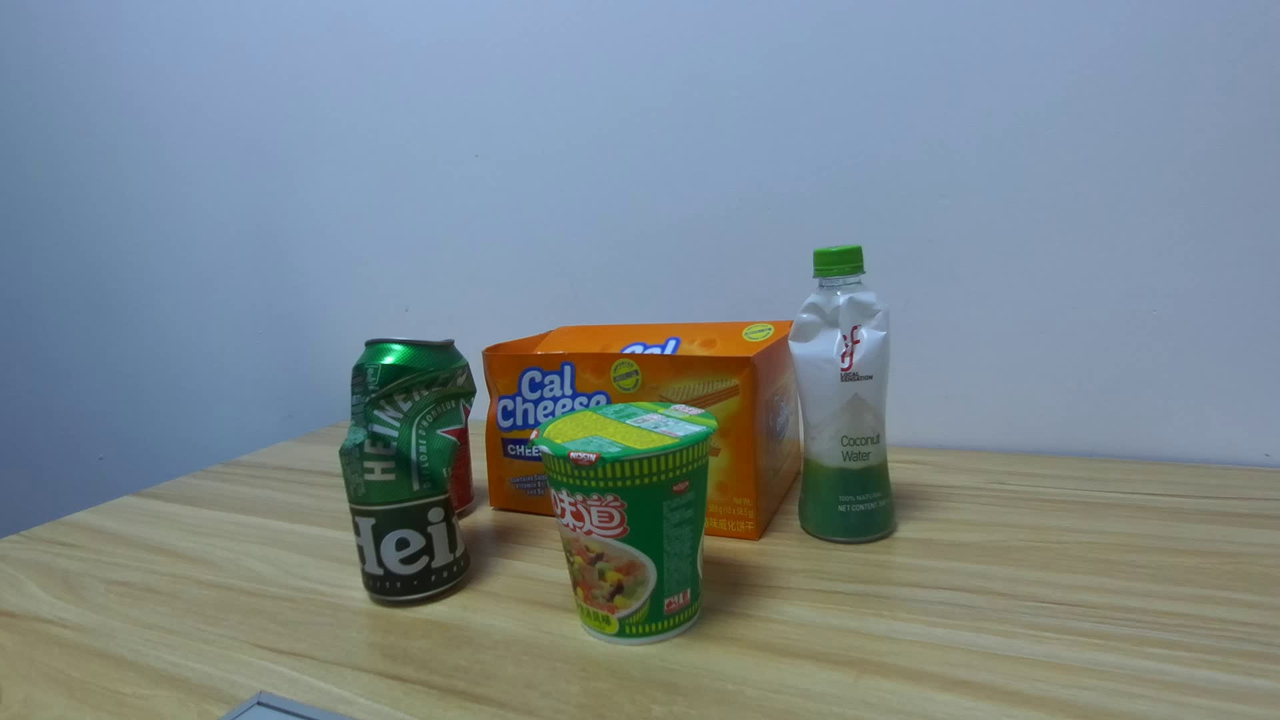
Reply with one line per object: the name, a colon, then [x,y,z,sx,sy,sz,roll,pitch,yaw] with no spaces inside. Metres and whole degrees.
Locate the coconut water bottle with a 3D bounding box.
coconut water bottle: [0.131,0.022,0.461,0.069,0.186,0.069,-6,11,1]

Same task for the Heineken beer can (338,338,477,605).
Heineken beer can: [-0.141,0.067,0.436,0.067,0.159,0.079,-2,3,1]

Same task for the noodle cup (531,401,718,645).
noodle cup: [-0.004,0.086,0.385,0.097,0.110,0.097,-4,12,1]

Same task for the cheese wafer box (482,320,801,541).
cheese wafer box: [0.000,0.046,0.562,0.229,0.132,0.153,1,13,24]
